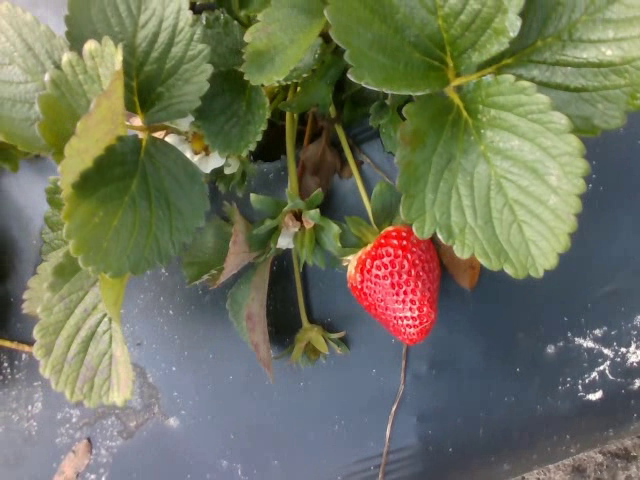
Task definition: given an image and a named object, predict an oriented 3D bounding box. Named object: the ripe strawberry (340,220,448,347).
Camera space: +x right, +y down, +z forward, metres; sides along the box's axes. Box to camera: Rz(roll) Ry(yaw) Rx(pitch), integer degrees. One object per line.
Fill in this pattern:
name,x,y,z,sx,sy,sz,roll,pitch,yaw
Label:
ripe strawberry,0.035,0.025,0.267,0.050,0.053,0.049,-25,-31,13
